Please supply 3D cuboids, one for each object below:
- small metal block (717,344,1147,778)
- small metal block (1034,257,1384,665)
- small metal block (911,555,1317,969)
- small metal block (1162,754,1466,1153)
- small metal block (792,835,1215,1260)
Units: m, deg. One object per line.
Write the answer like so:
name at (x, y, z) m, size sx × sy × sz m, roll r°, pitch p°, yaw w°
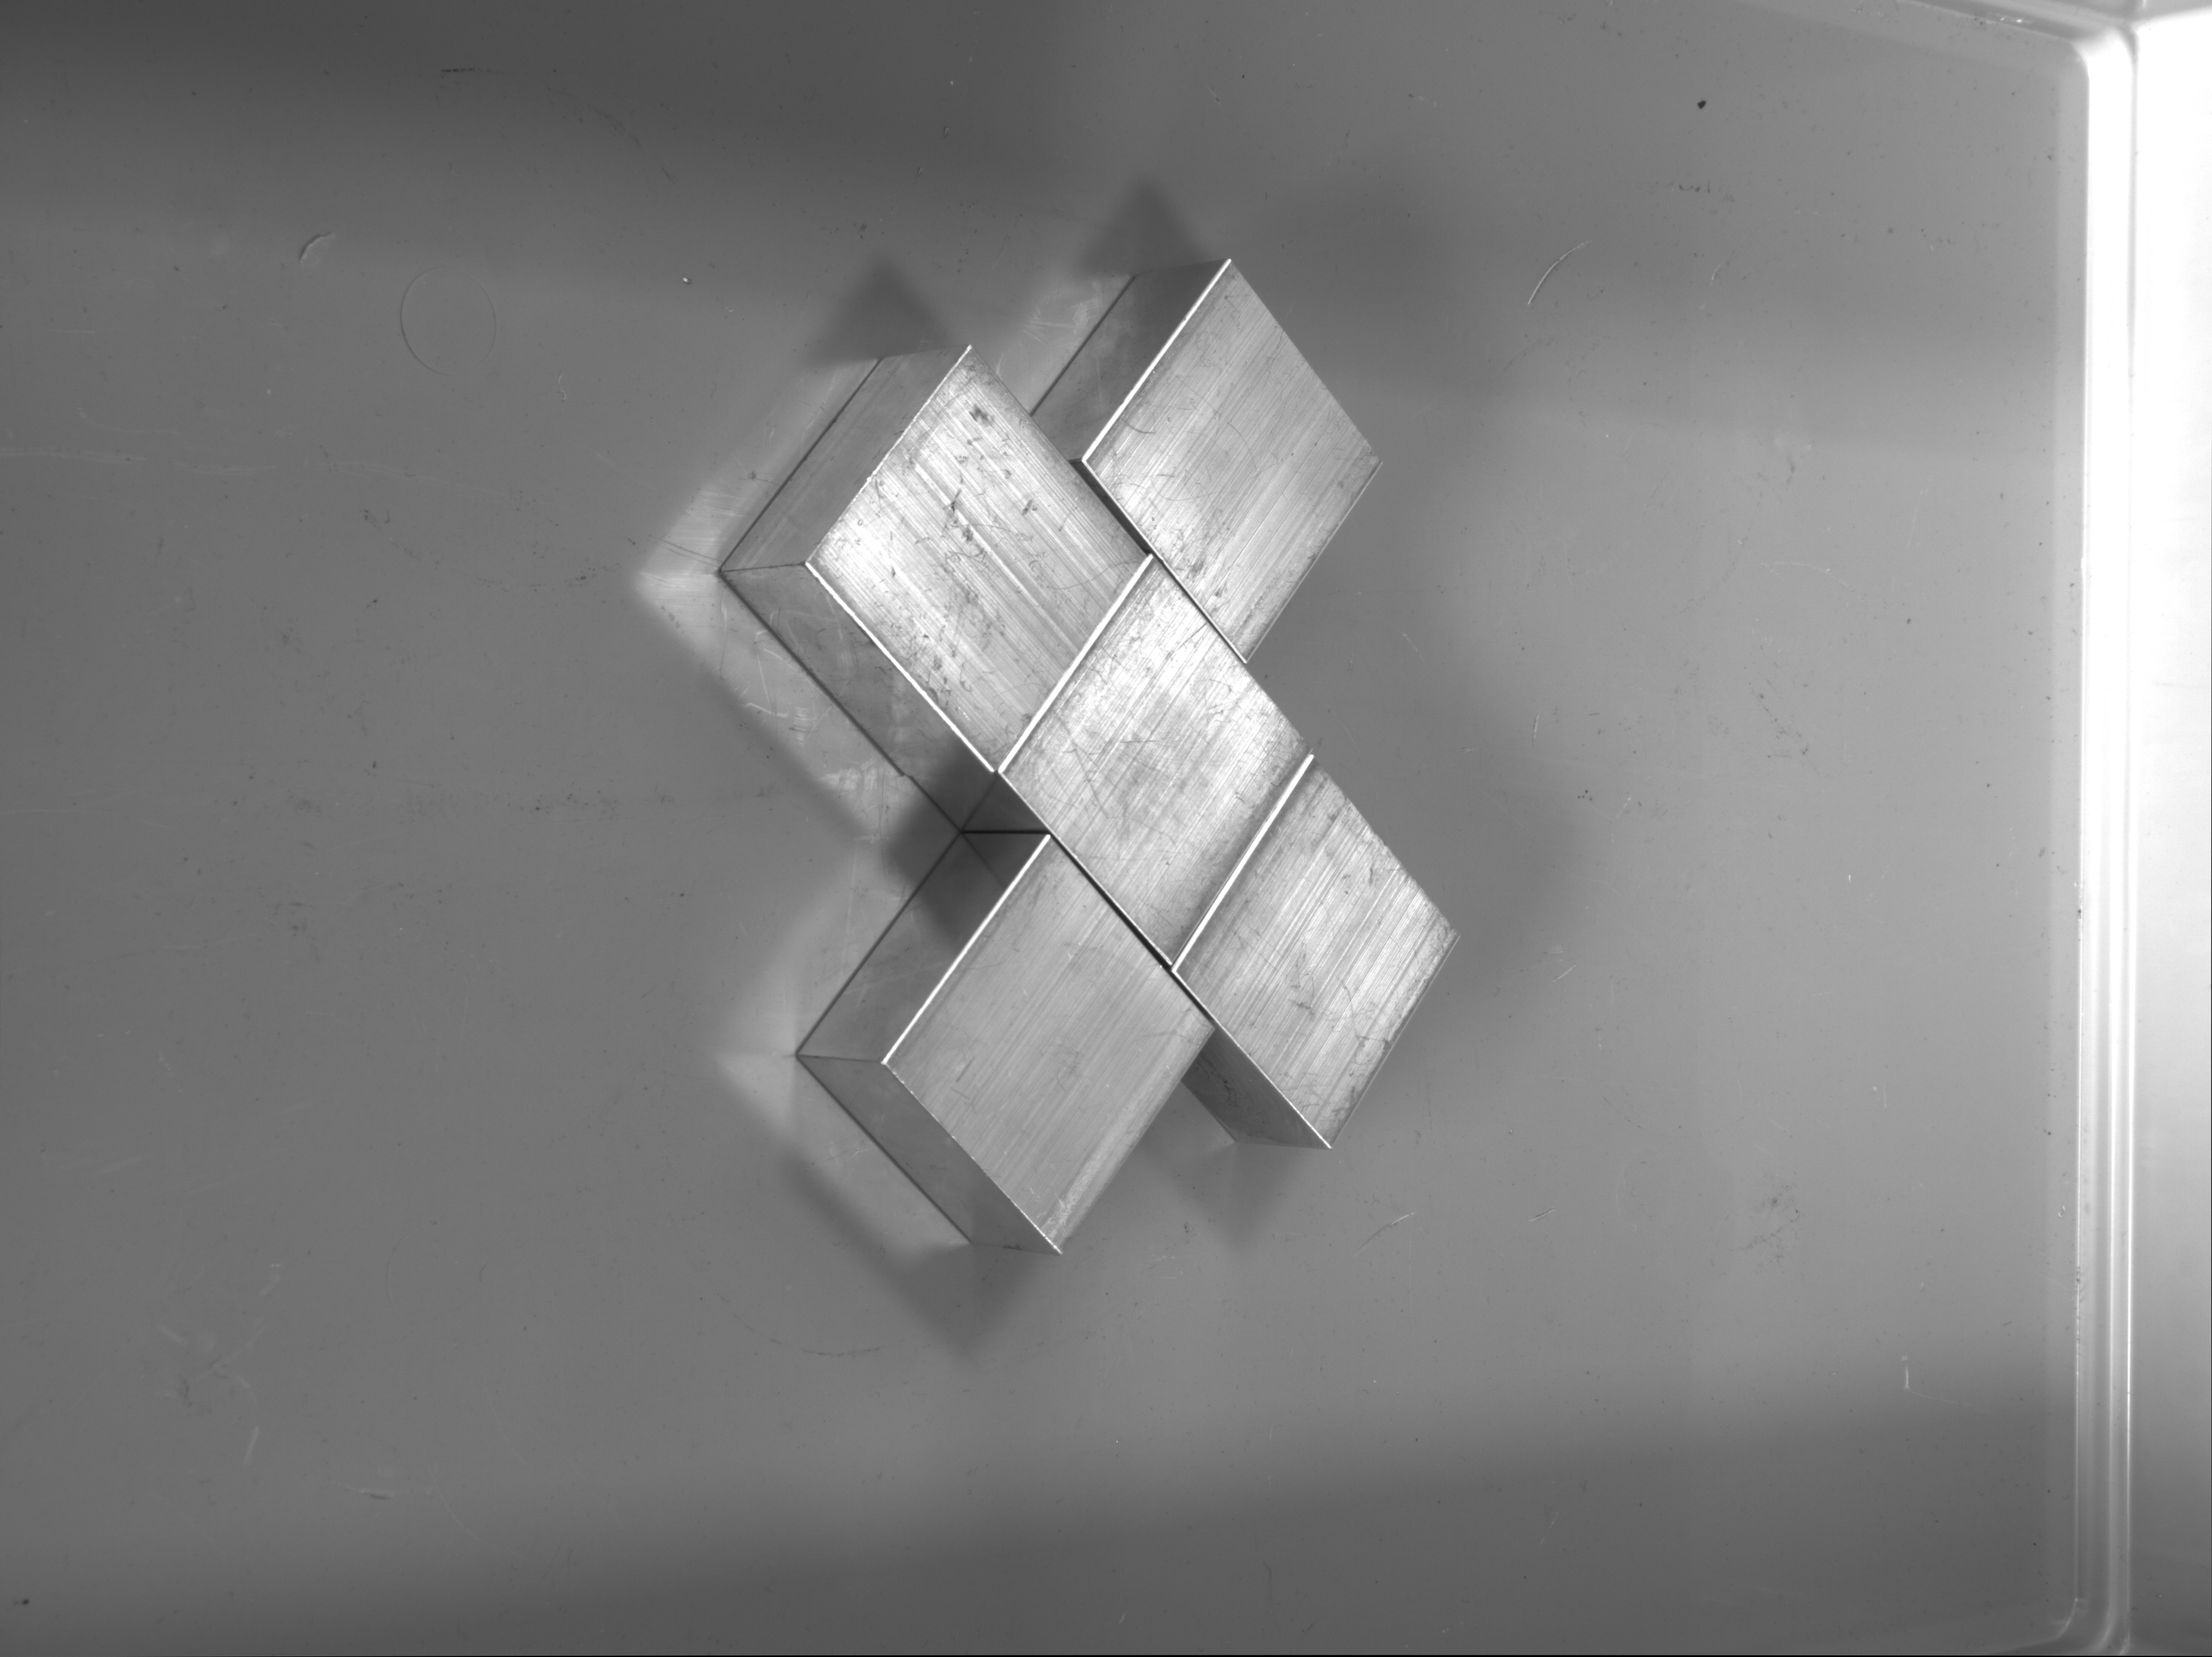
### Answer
small metal block at (-0.028, -0.044, 0.610) m, size 0.050 × 0.025 × 0.050 m, roll 49°, pitch 61°, yaw -29°
small metal block at (0.015, -0.064, 0.646) m, size 0.050 × 0.025 × 0.050 m, roll 49°, pitch 60°, yaw -28°
small metal block at (0.002, -0.011, 0.634) m, size 0.050 × 0.025 × 0.050 m, roll 49°, pitch 61°, yaw -29°
small metal block at (0.031, 0.022, 0.659) m, size 0.050 × 0.025 × 0.050 m, roll 49°, pitch 61°, yaw -29°
small metal block at (-0.017, 0.036, 0.620) m, size 0.050 × 0.025 × 0.050 m, roll 50°, pitch 61°, yaw -28°
